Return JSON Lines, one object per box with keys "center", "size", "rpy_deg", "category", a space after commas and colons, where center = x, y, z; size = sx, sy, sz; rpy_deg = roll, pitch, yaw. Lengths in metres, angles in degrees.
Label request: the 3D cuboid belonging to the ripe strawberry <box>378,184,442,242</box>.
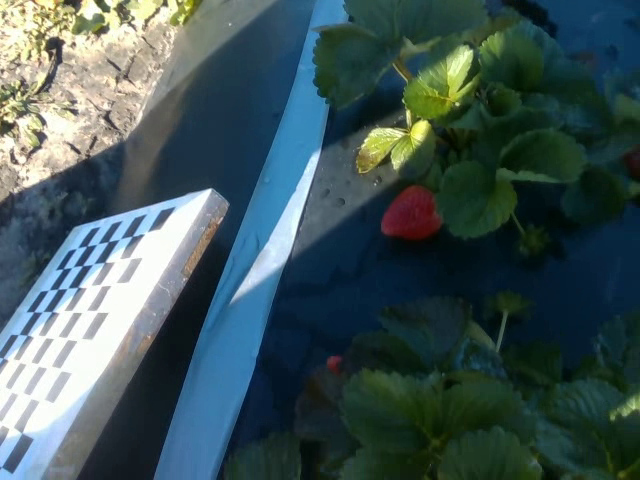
{"center": [0.066, -0.017, 0.482], "size": [0.058, 0.042, 0.045], "rpy_deg": [-33, 27, -14], "category": "ripe strawberry"}
